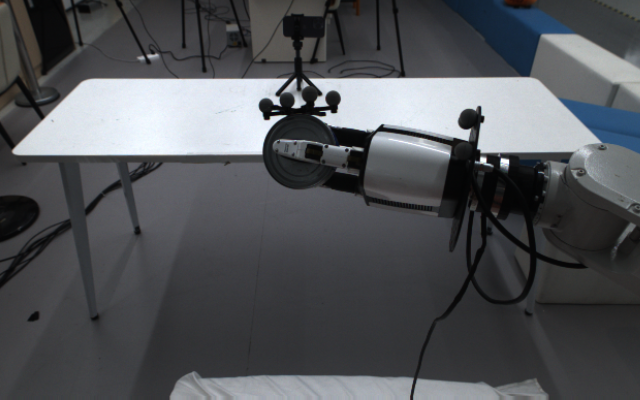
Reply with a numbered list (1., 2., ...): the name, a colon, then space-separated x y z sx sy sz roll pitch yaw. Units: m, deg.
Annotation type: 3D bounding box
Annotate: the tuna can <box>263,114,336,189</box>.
1. tuna can: -0.018 -0.050 0.557 0.085 0.085 0.034 10 3 11
